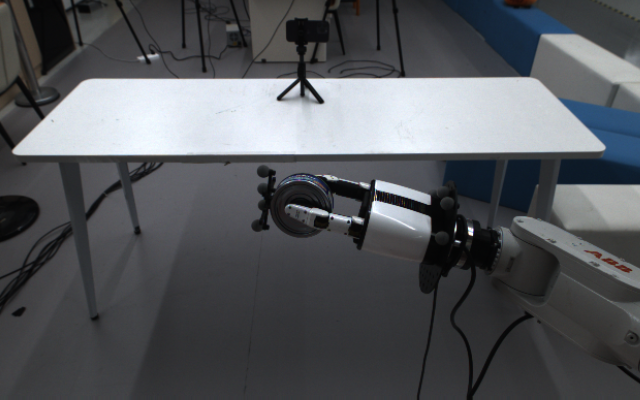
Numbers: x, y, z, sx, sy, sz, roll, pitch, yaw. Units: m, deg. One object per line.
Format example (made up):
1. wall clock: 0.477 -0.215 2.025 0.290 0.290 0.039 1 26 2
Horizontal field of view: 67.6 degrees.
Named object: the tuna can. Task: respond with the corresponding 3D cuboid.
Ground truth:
1. tuna can: -0.023 0.007 0.666 0.085 0.085 0.034 4 18 3
